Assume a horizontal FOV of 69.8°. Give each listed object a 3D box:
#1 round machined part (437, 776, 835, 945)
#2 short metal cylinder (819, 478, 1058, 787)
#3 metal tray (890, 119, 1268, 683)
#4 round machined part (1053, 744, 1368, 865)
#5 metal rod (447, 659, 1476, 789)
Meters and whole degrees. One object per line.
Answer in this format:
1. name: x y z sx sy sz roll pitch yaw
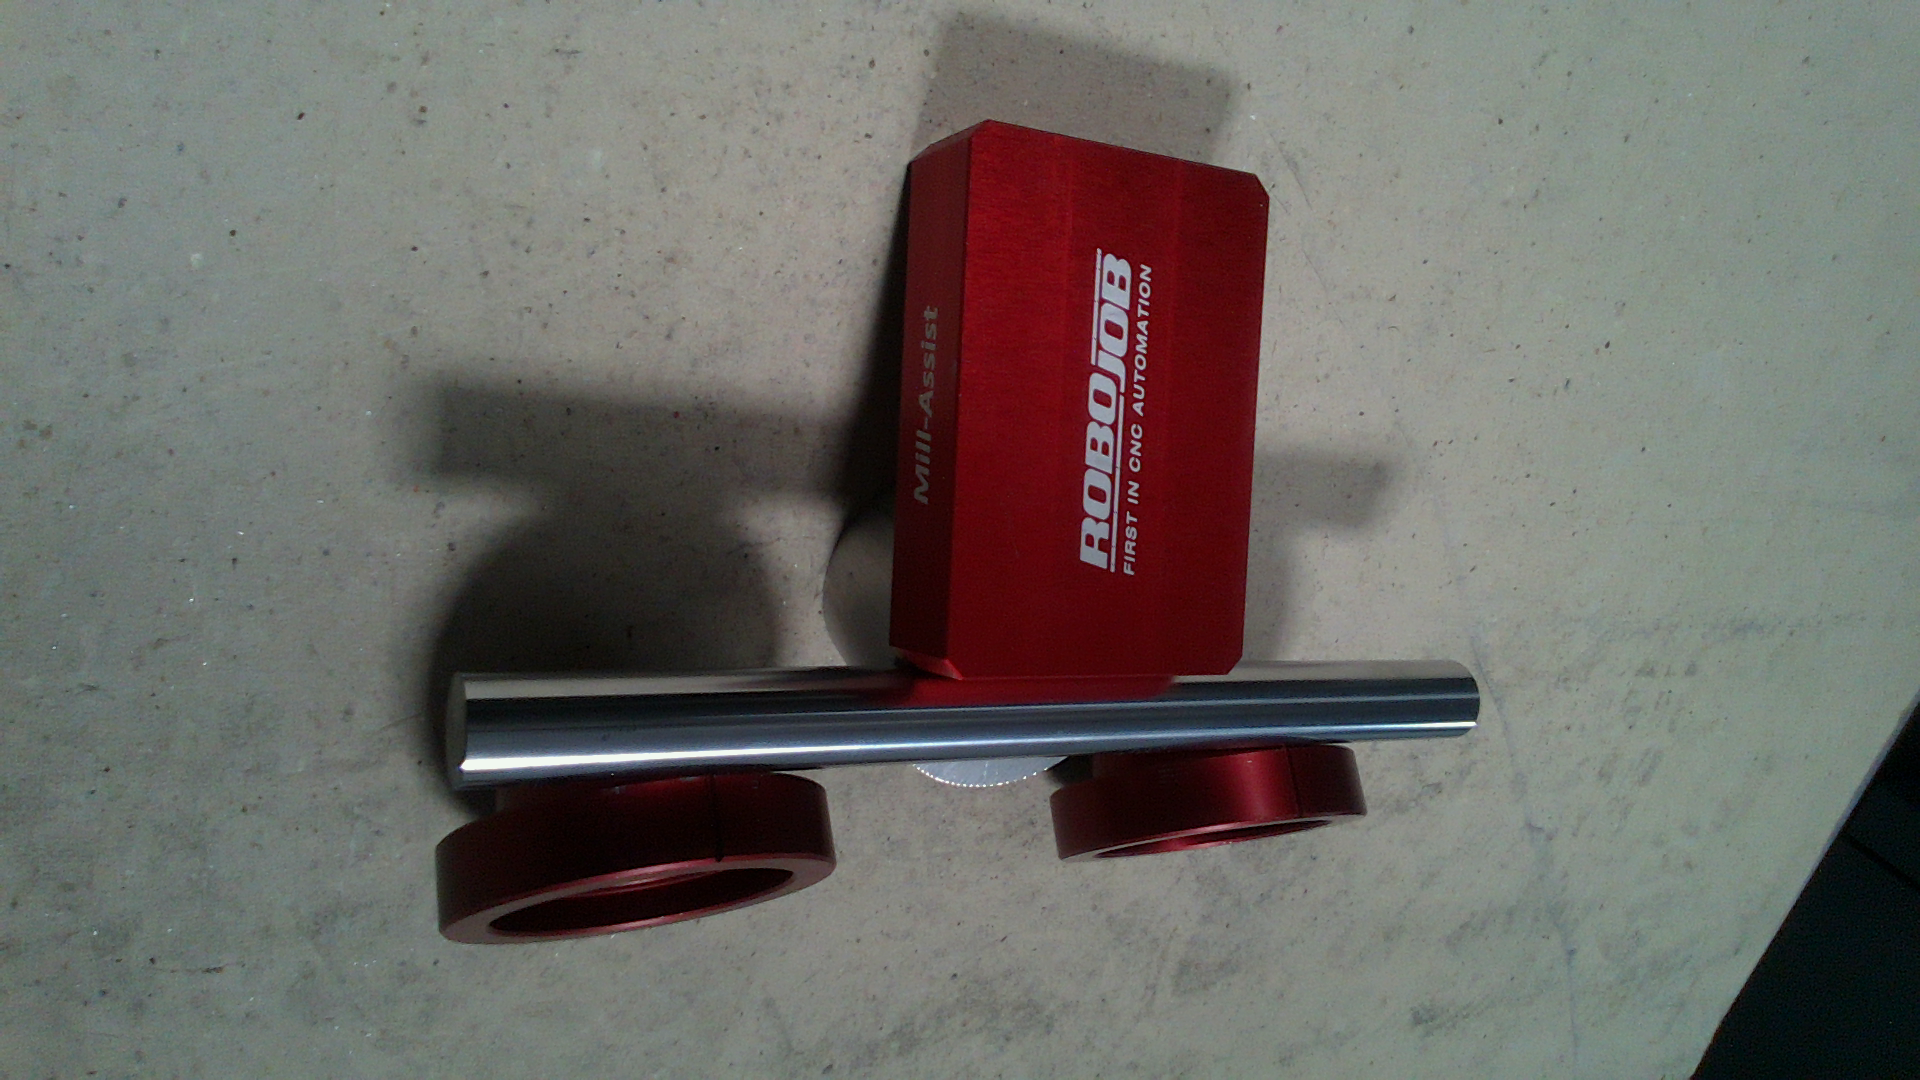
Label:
1. round machined part: -0.084 0.073 0.357 0.098 0.042 0.098 -11 160 -4
2. short metal cylinder: 0.006 0.022 0.391 0.080 0.050 0.080 -14 124 -21
3. metal tray: 0.031 -0.031 0.349 0.090 0.030 0.130 2 91 -29
4. round machined part: 0.078 0.076 0.444 0.098 0.042 0.098 -8 163 -2
5. metal rod: 0.024 0.045 0.366 0.301 0.025 0.025 2 117 -29
